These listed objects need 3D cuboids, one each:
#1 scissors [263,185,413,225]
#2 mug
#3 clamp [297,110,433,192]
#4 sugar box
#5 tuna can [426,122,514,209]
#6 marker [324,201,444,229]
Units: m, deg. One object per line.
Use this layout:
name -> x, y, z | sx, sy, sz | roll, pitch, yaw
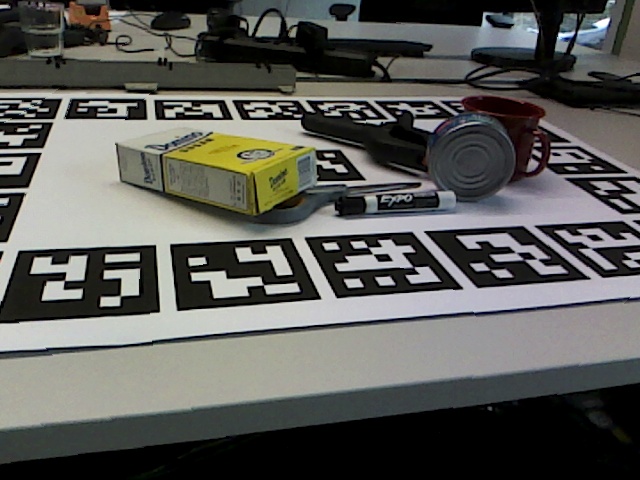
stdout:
scissors -> 0.007, -0.045, 0.619 | 0.202, 0.016, 0.088 | -7, 28, -26
mug -> 0.197, -0.100, 0.700 | 0.093, 0.081, 0.118 | -20, 35, -39
clamp -> 0.083, -0.115, 0.766 | 0.164, 0.036, 0.204 | -8, 33, -25
sugar box -> -0.100, -0.065, 0.602 | 0.177, 0.045, 0.092 | 19, 31, 33
tuna can -> 0.154, -0.075, 0.637 | 0.086, 0.085, 0.034 | 6, 29, 0
marker -> 0.062, -0.025, 0.598 | 0.120, 0.019, 0.020 | -5, 32, -18
